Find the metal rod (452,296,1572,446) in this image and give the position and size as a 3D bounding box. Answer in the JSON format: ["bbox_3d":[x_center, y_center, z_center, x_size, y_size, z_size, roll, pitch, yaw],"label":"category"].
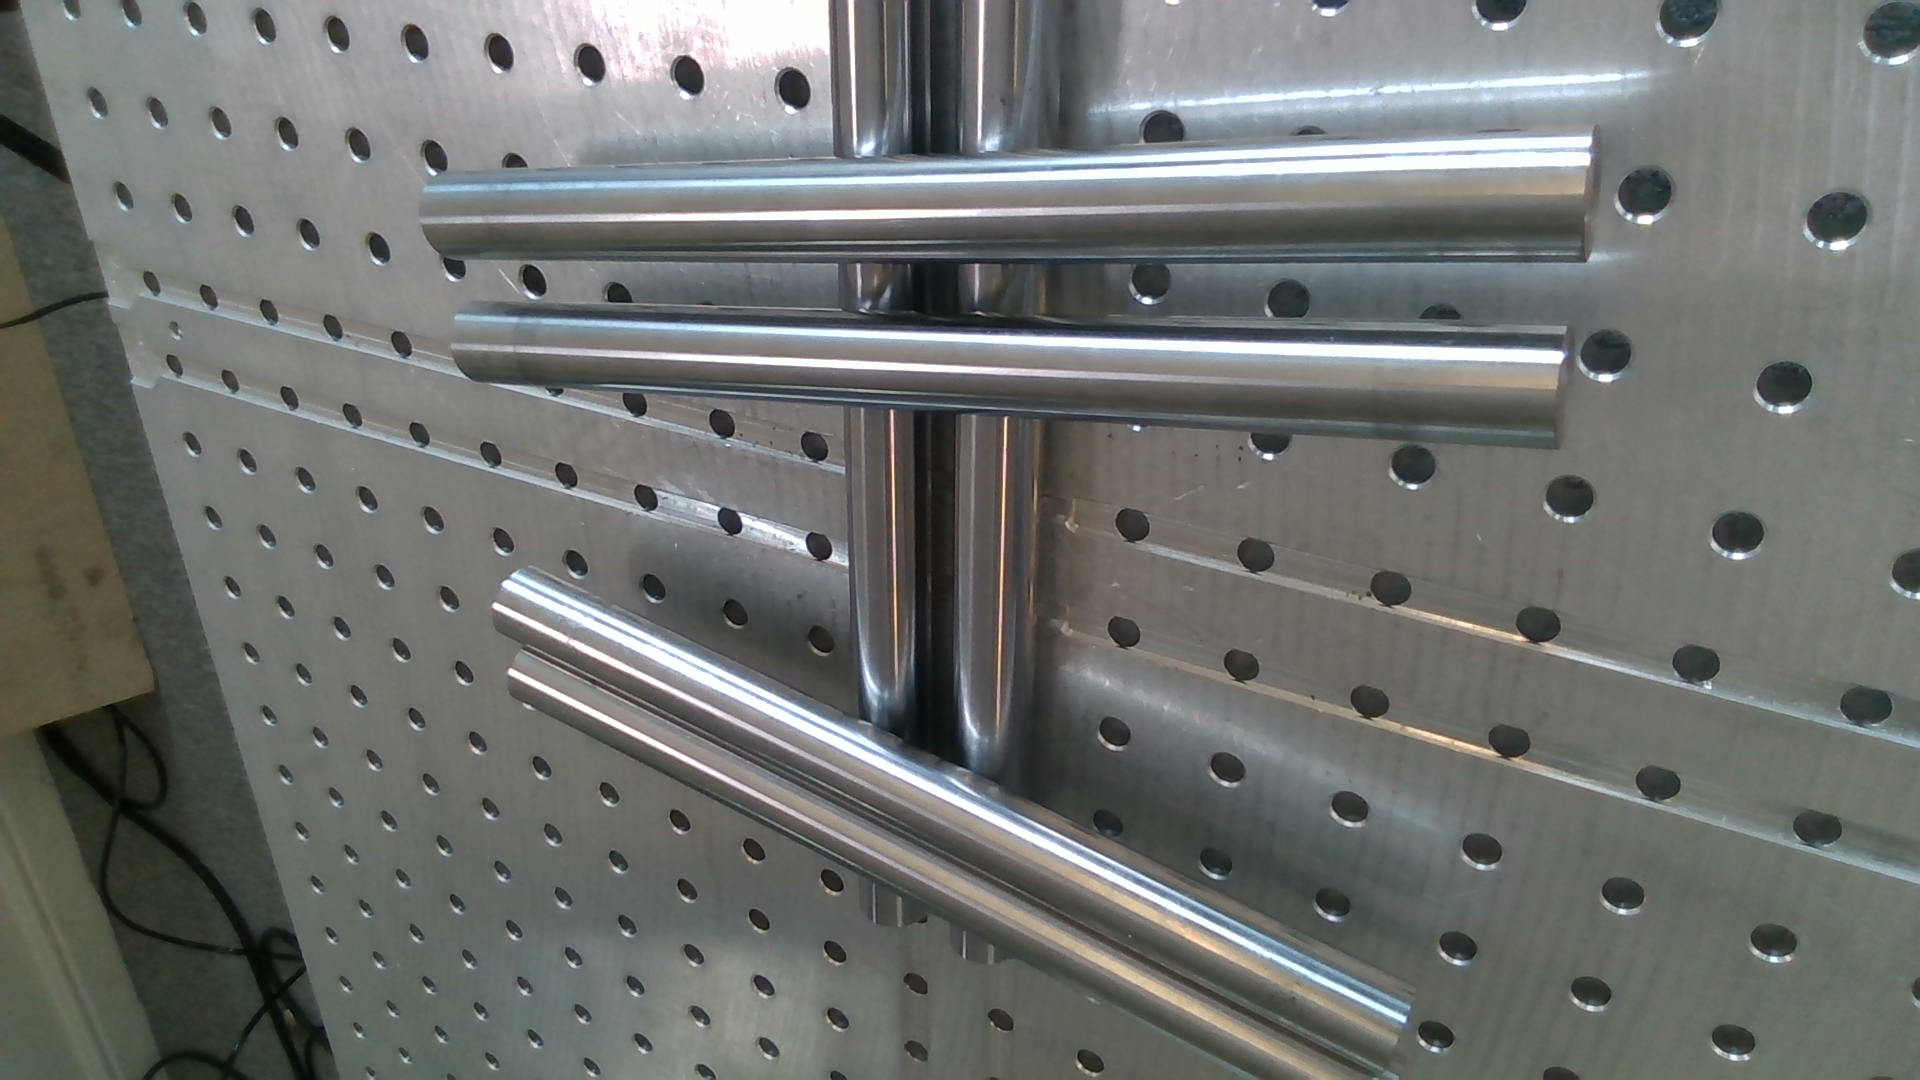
[{"bbox_3d":[-0.012,-0.046,0.342,0.300,0.025,0.025,7,118,29],"label":"metal rod"}]

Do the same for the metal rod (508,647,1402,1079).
[{"bbox_3d":[-0.016,0.096,0.422,0.300,0.025,0.025,22,125,20],"label":"metal rod"}]

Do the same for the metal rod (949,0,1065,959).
[{"bbox_3d":[0.010,-0.001,0.385,0.025,0.025,0.301,15,122,24],"label":"metal rod"}]

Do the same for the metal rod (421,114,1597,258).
[{"bbox_3d":[-0.015,-0.080,0.325,0.300,0.025,0.025,6,118,29],"label":"metal rod"}]

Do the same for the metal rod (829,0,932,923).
[{"bbox_3d":[-0.021,-0.009,0.400,0.025,0.025,0.301,15,122,24],"label":"metal rod"}]

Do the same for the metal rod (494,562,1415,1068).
[{"bbox_3d":[-0.016,0.072,0.410,0.300,0.025,0.025,22,125,20],"label":"metal rod"}]
